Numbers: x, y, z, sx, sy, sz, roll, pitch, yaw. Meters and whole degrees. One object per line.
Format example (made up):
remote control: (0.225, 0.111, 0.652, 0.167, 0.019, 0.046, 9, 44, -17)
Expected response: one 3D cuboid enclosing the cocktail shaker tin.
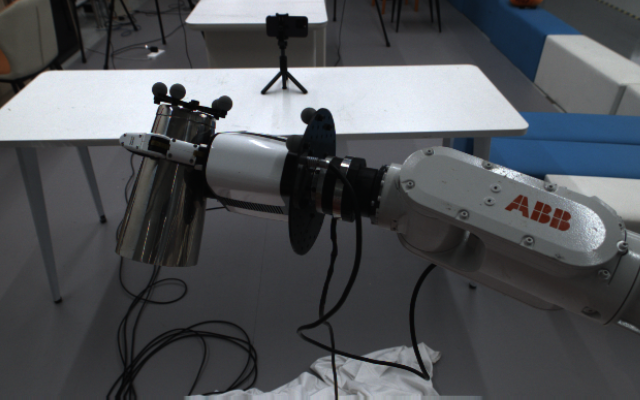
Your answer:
cocktail shaker tin: (-0.166, -0.019, 0.557, 0.093, 0.170, 0.093, 12, 1, 0)
